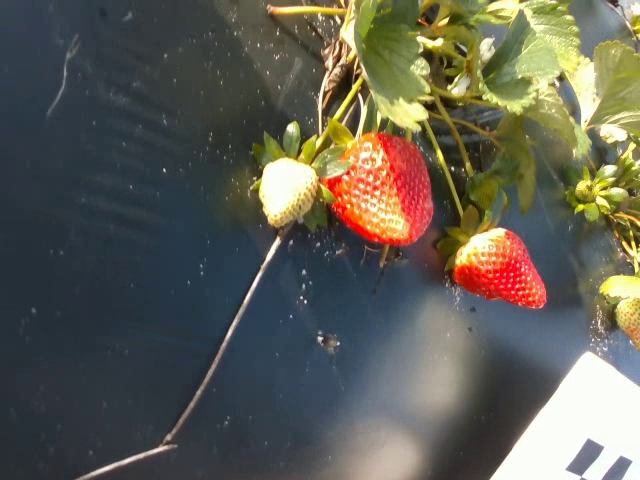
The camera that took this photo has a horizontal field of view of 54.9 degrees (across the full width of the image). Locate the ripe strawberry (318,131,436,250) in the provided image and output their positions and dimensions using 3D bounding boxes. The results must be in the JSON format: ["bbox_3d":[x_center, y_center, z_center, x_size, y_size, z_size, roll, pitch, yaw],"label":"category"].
[{"bbox_3d":[0.021,-0.014,0.176,0.035,0.036,0.041,14,-49,-29],"label":"ripe strawberry"}]

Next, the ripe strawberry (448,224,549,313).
[{"bbox_3d":[0.070,0.011,0.219,0.037,0.039,0.033,-39,-34,6],"label":"ripe strawberry"}]
